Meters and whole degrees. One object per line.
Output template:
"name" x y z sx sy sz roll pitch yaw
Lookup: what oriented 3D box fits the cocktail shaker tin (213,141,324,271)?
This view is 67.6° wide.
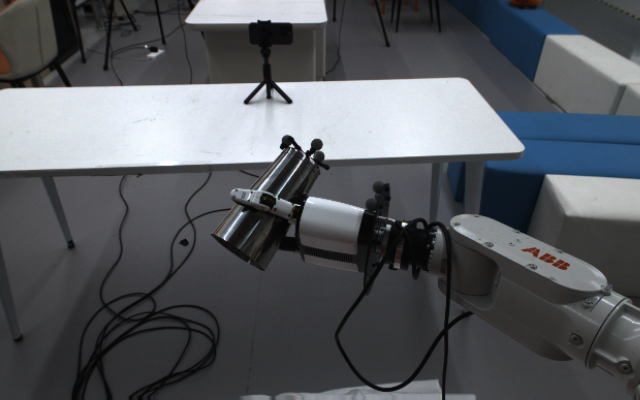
"cocktail shaker tin" -0.074 0.006 0.712 0.093 0.093 0.170 24 69 28
